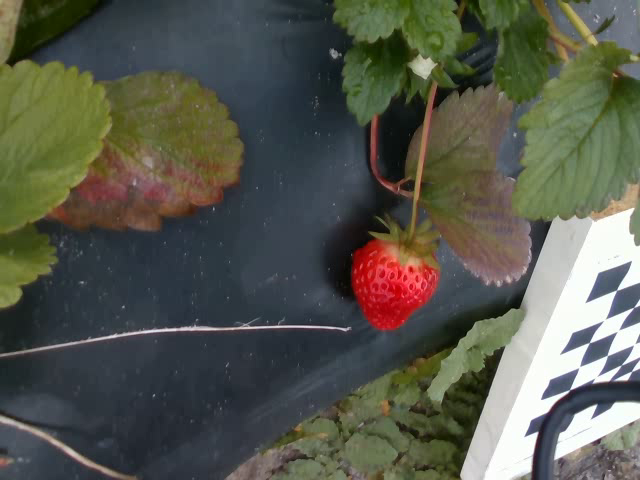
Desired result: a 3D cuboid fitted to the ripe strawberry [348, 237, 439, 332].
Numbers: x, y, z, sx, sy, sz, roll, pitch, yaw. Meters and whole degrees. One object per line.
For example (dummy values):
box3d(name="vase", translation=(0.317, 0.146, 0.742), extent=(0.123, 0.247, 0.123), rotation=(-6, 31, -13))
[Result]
box3d(name="ripe strawberry", translation=(0.021, 0.014, 0.171), extent=(0.028, 0.033, 0.023), rotation=(0, 37, -25))
